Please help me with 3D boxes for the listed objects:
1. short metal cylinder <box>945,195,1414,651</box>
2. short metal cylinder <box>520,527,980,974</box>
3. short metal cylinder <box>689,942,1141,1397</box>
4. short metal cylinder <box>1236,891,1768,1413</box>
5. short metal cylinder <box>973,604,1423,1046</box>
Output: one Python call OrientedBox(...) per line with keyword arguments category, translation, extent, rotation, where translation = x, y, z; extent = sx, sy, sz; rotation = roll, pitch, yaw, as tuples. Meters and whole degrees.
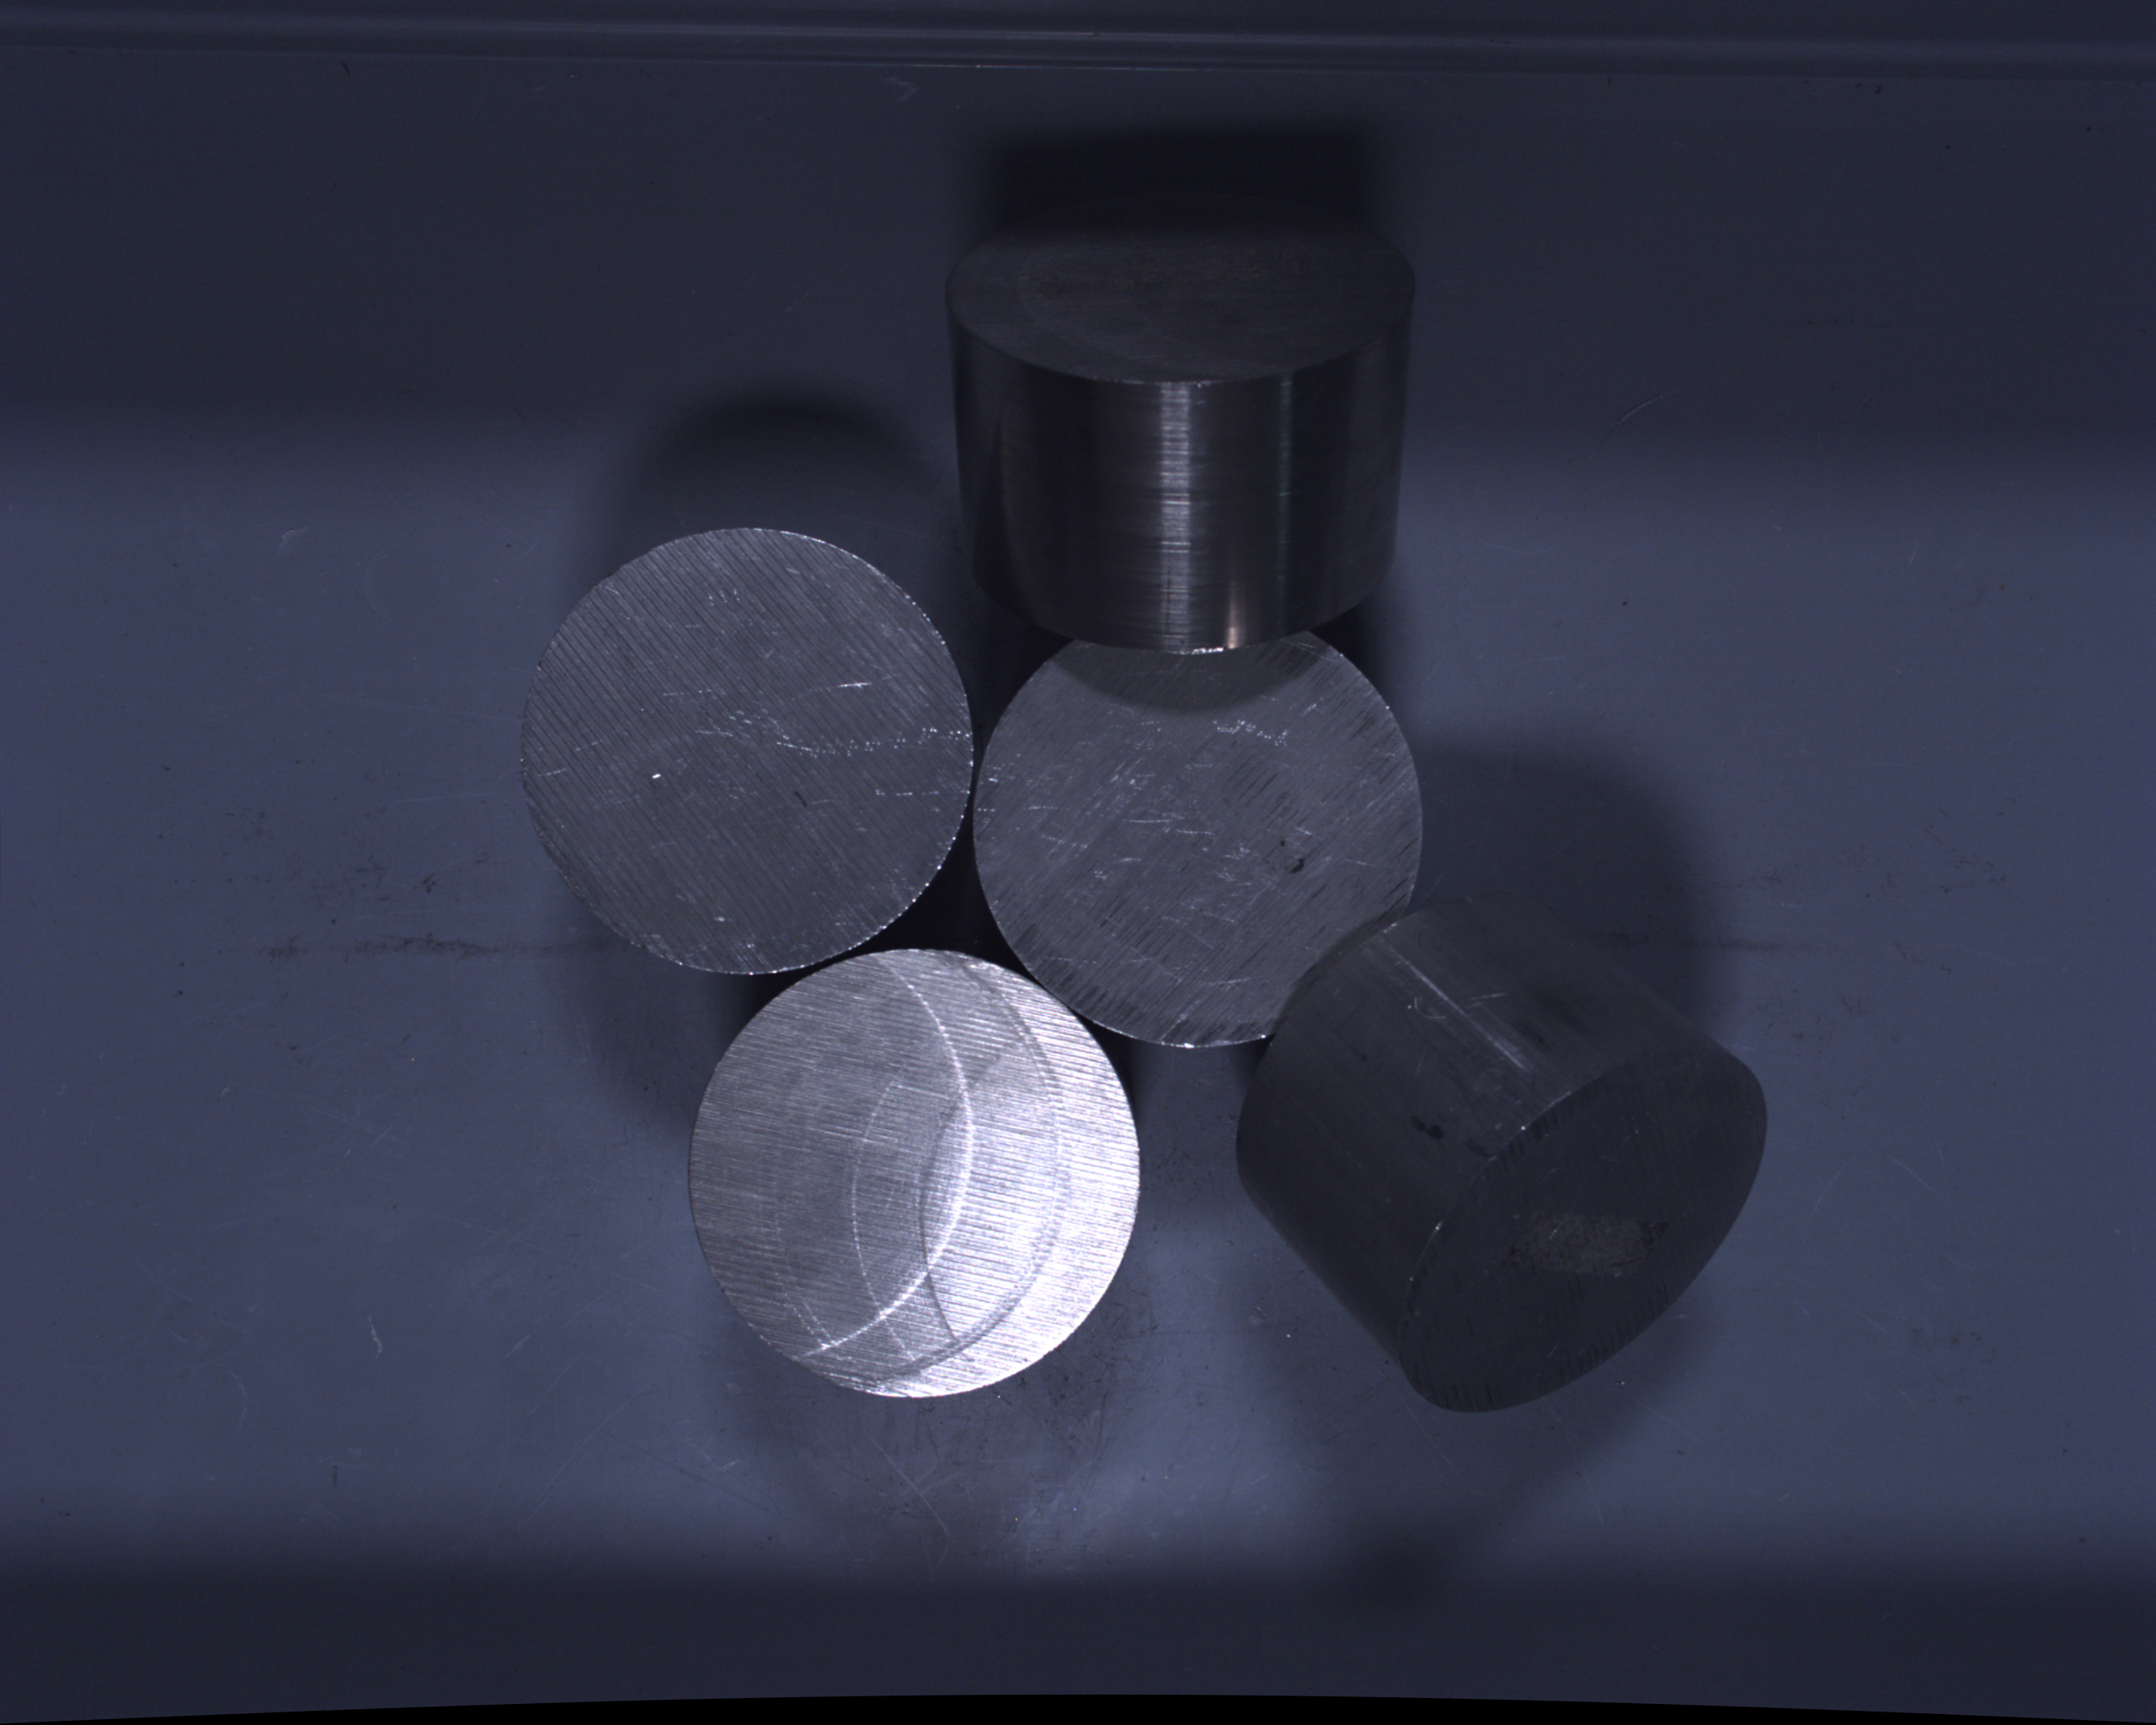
OrientedBox(category="short metal cylinder", translation=(0.018, -0.081, 0.375), extent=(0.081, 0.080, 0.050), rotation=(-3, 129, -1))
OrientedBox(category="short metal cylinder", translation=(-0.059, -0.020, 0.396), extent=(0.081, 0.050, 0.079), rotation=(0, 90, -1))
OrientedBox(category="short metal cylinder", translation=(-0.029, 0.055, 0.397), extent=(0.081, 0.050, 0.079), rotation=(0, 90, -1))
OrientedBox(category="short metal cylinder", translation=(0.076, 0.052, 0.378), extent=(0.081, 0.050, 0.079), rotation=(-18, 129, -23))
OrientedBox(category="short metal cylinder", translation=(0.021, -0.007, 0.397), extent=(0.081, 0.050, 0.079), rotation=(0, 90, -1))
